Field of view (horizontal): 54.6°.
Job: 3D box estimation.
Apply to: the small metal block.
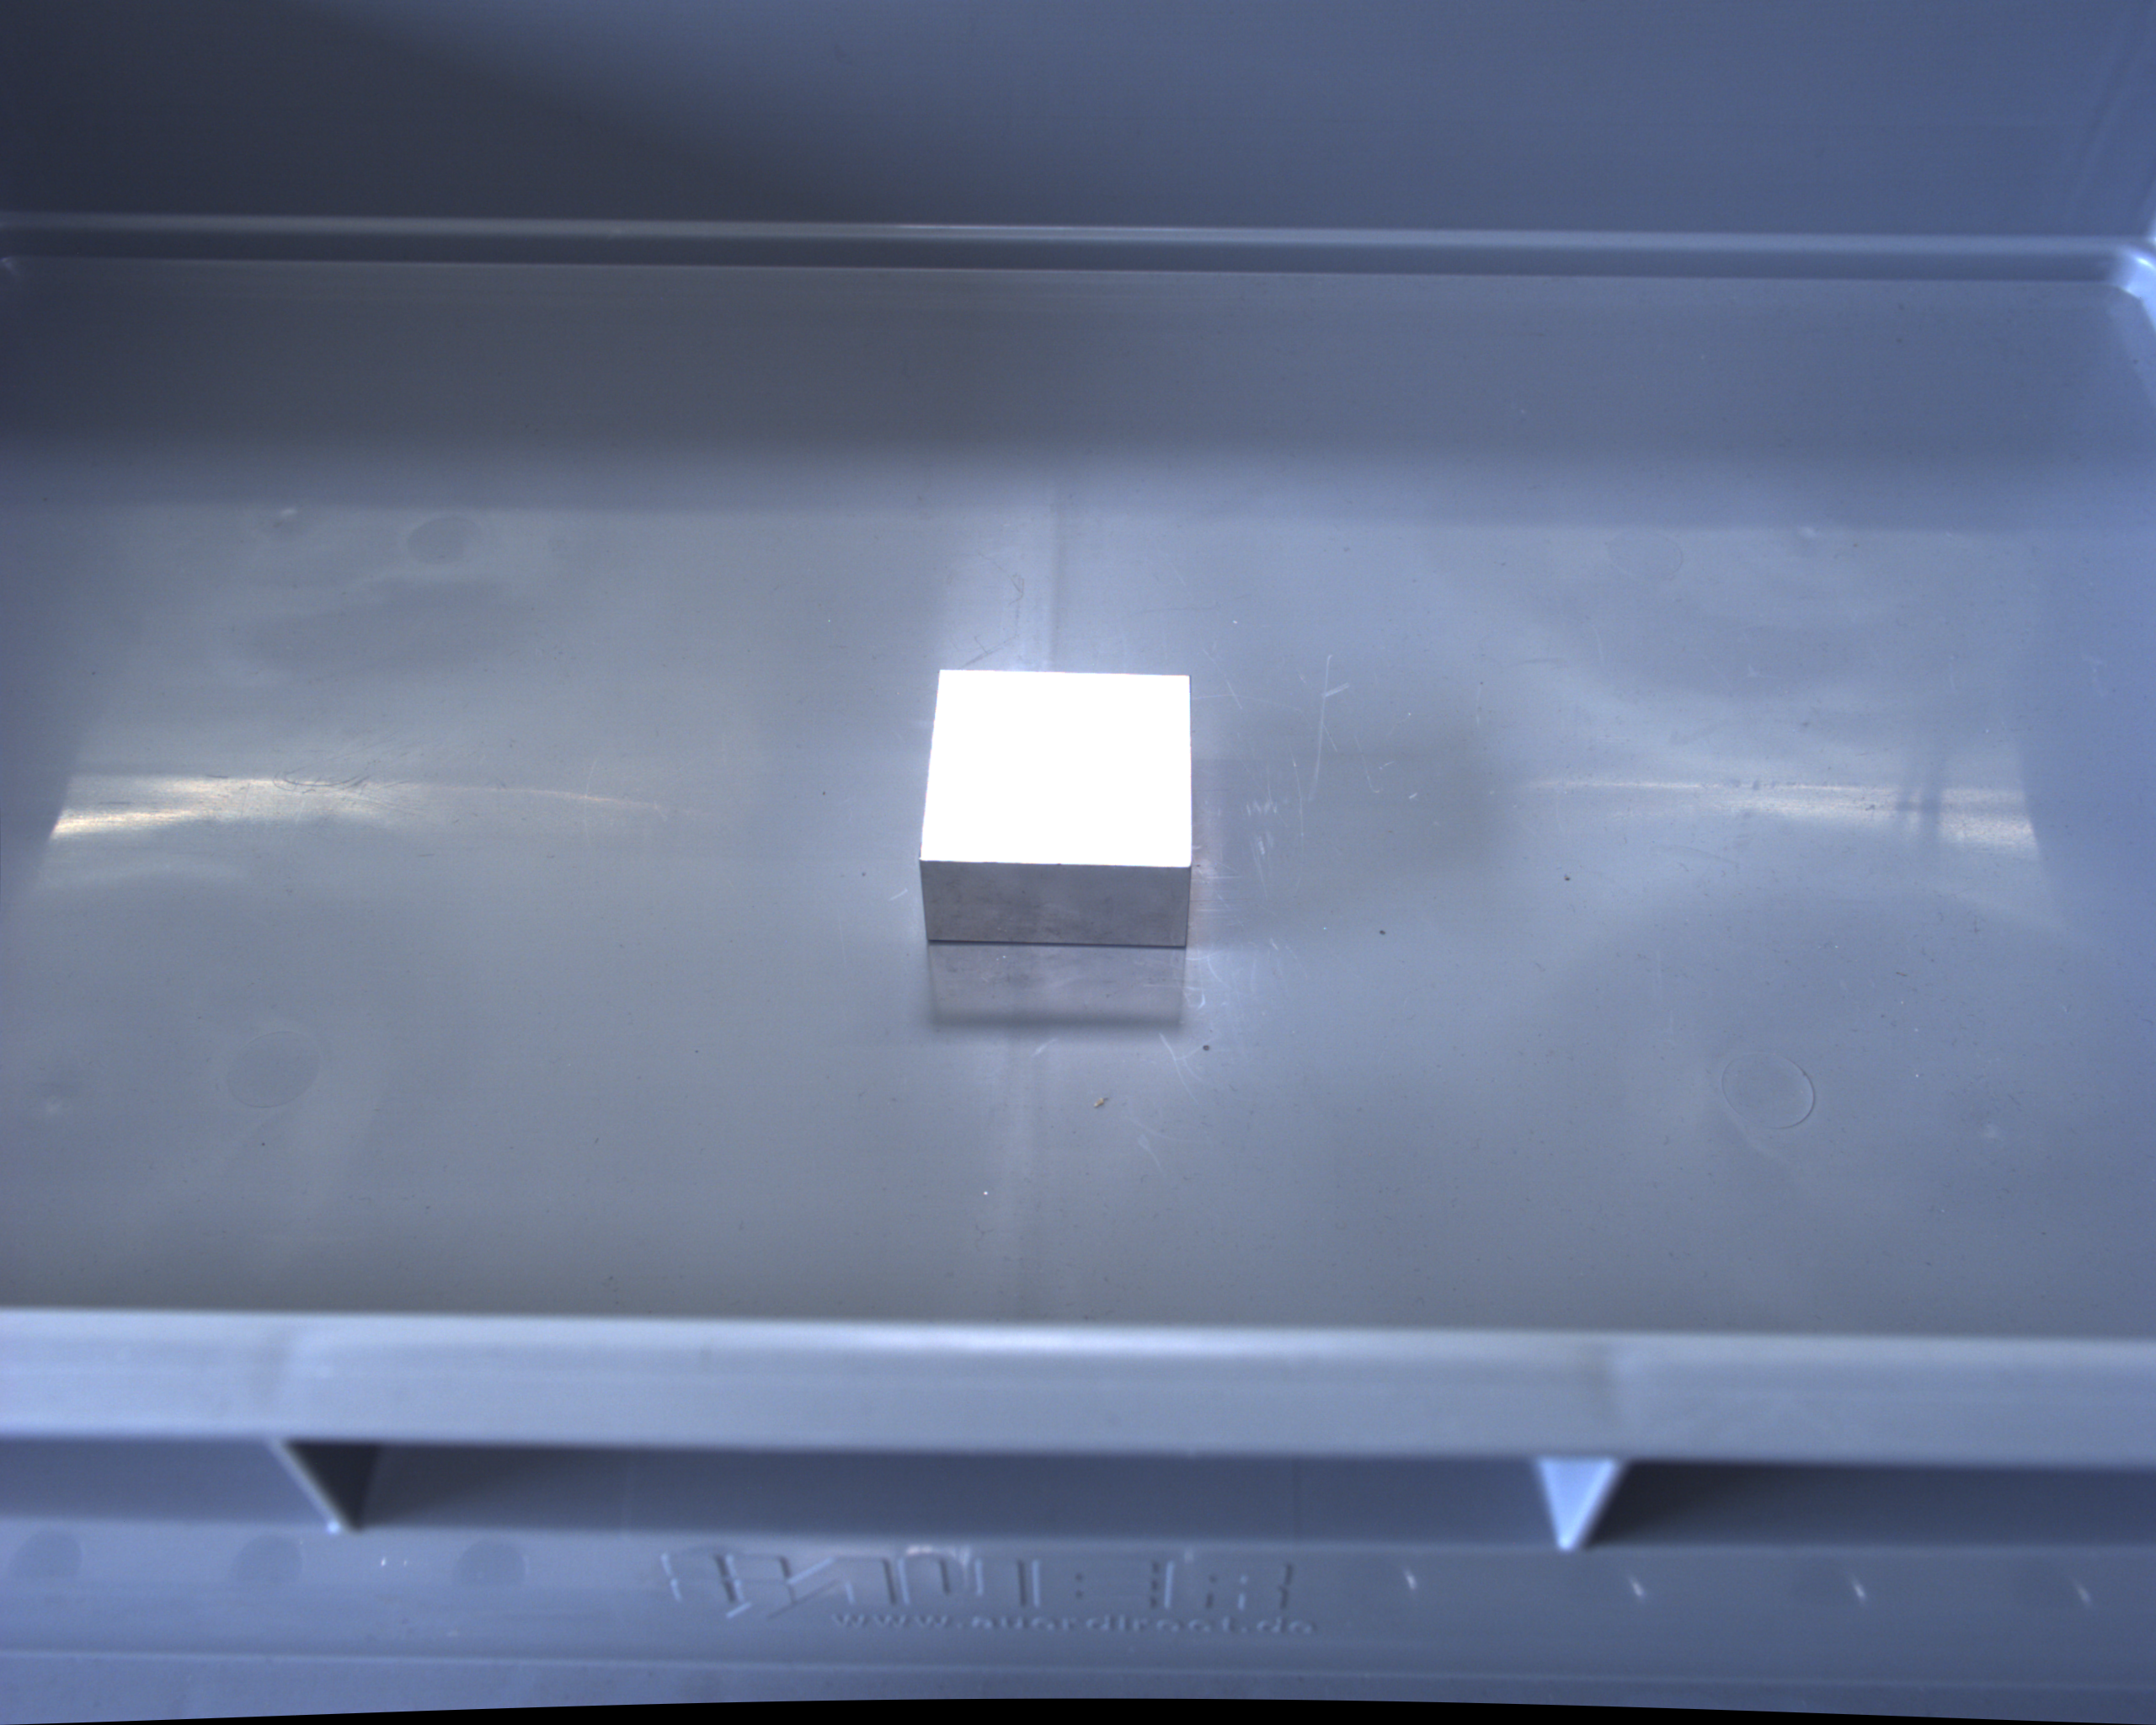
[{"bbox_3d":[-0.003,-0.011,0.410,0.050,0.025,0.050,1,50,1],"label":"small metal block"}]
